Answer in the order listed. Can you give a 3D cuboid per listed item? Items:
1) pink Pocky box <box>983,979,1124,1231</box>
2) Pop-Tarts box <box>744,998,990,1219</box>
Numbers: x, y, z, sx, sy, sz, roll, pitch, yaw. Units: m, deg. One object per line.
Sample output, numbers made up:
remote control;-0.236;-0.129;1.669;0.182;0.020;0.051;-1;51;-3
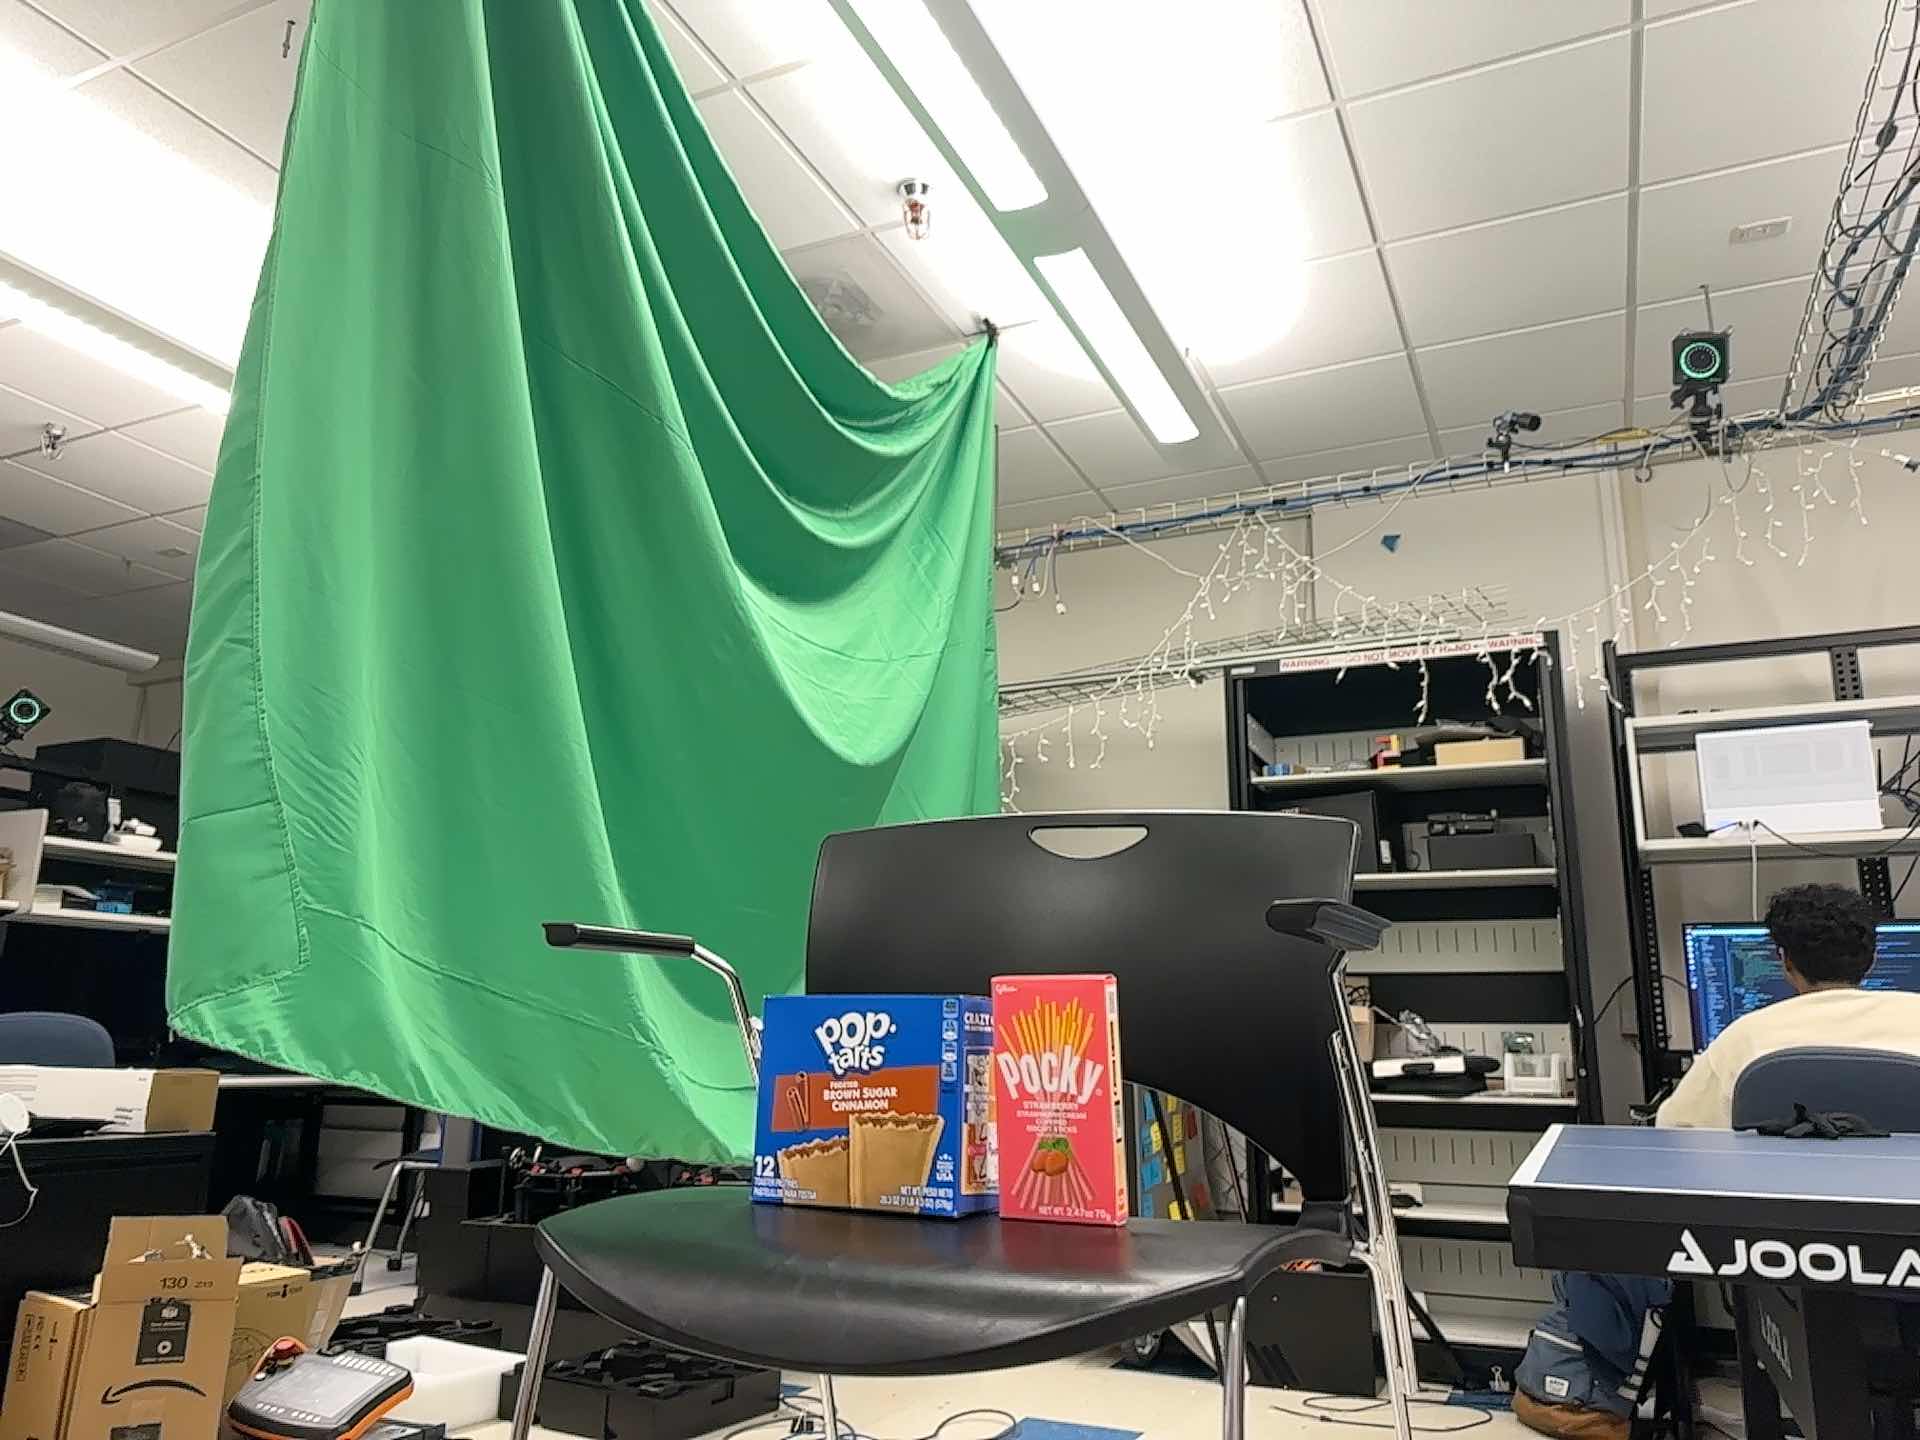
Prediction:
pink Pocky box;0.060;0.247;0.874;0.084;0.155;0.029;-4;-9;21
Pop-Tarts box;-0.059;0.269;0.953;0.161;0.135;0.075;-5;-14;25
